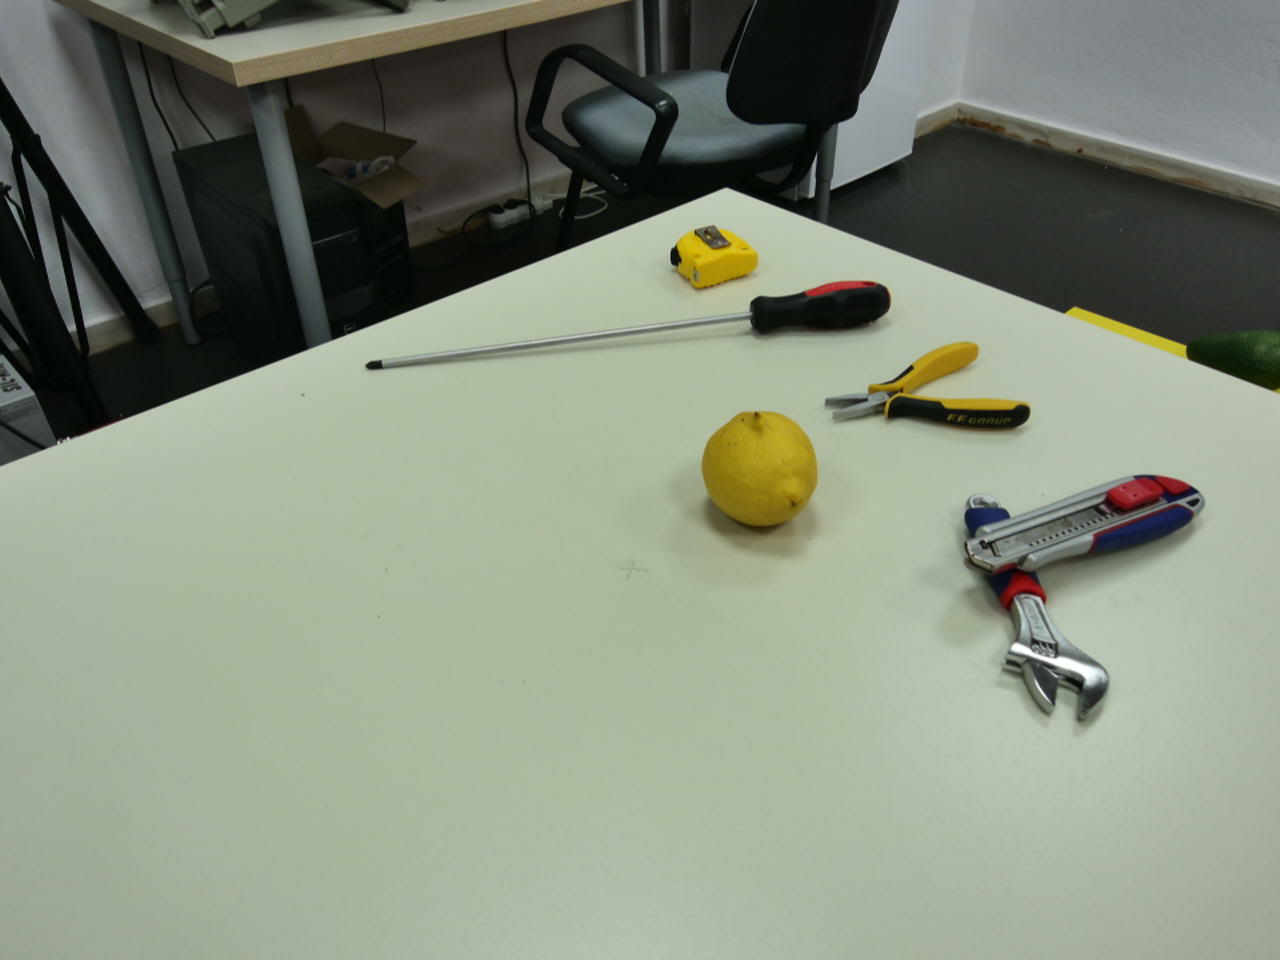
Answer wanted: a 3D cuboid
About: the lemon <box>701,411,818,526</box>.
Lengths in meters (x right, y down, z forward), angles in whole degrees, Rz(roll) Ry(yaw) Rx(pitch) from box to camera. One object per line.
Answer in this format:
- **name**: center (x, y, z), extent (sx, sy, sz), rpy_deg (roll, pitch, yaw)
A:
- **lemon**: center (0.071, -0.010, 0.598), extent (0.070, 0.071, 0.071), rpy_deg (9, 38, 12)
